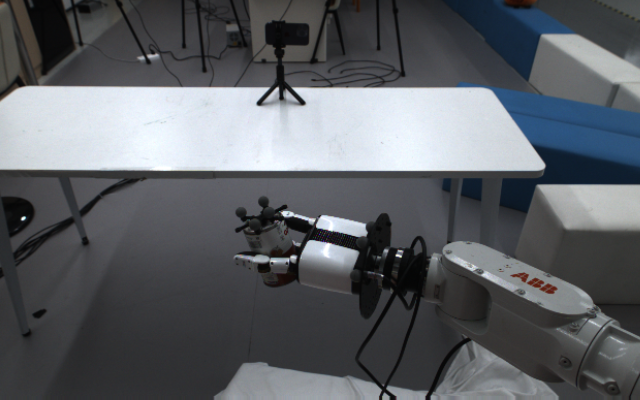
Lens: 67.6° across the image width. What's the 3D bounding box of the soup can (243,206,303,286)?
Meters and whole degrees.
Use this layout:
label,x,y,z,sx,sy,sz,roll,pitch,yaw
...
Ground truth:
label,x,y,z,sx,sy,sz,roll,pitch,yaw
soup can,-0.073,0.079,0.764,0.067,0.101,0.067,-16,23,7
